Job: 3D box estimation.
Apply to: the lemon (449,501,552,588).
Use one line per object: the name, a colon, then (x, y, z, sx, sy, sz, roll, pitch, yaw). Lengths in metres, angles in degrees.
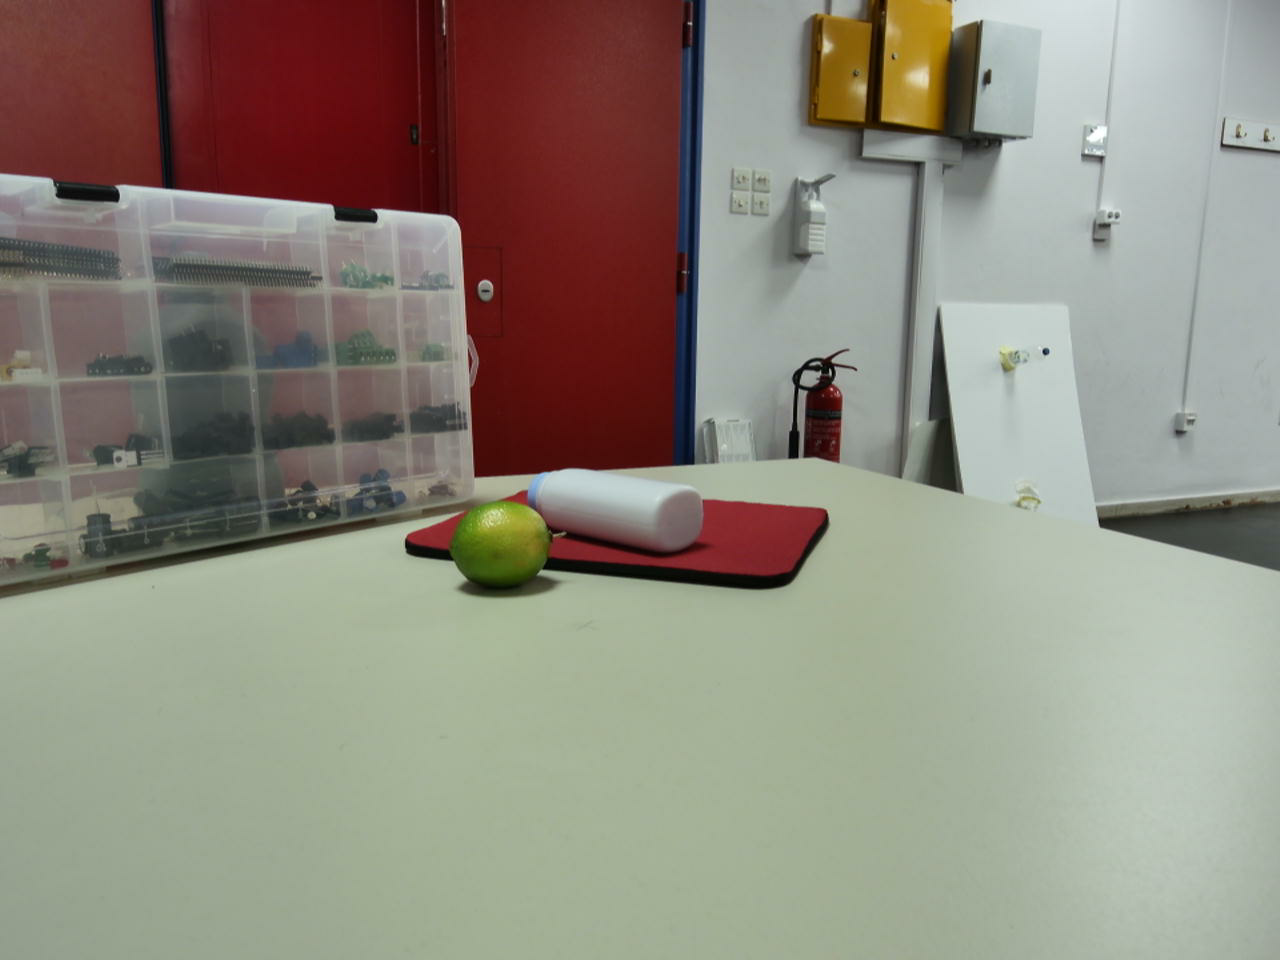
lemon: (-0.082, 0.037, 0.590, 0.055, 0.050, 0.054, 3, 9, 25)
